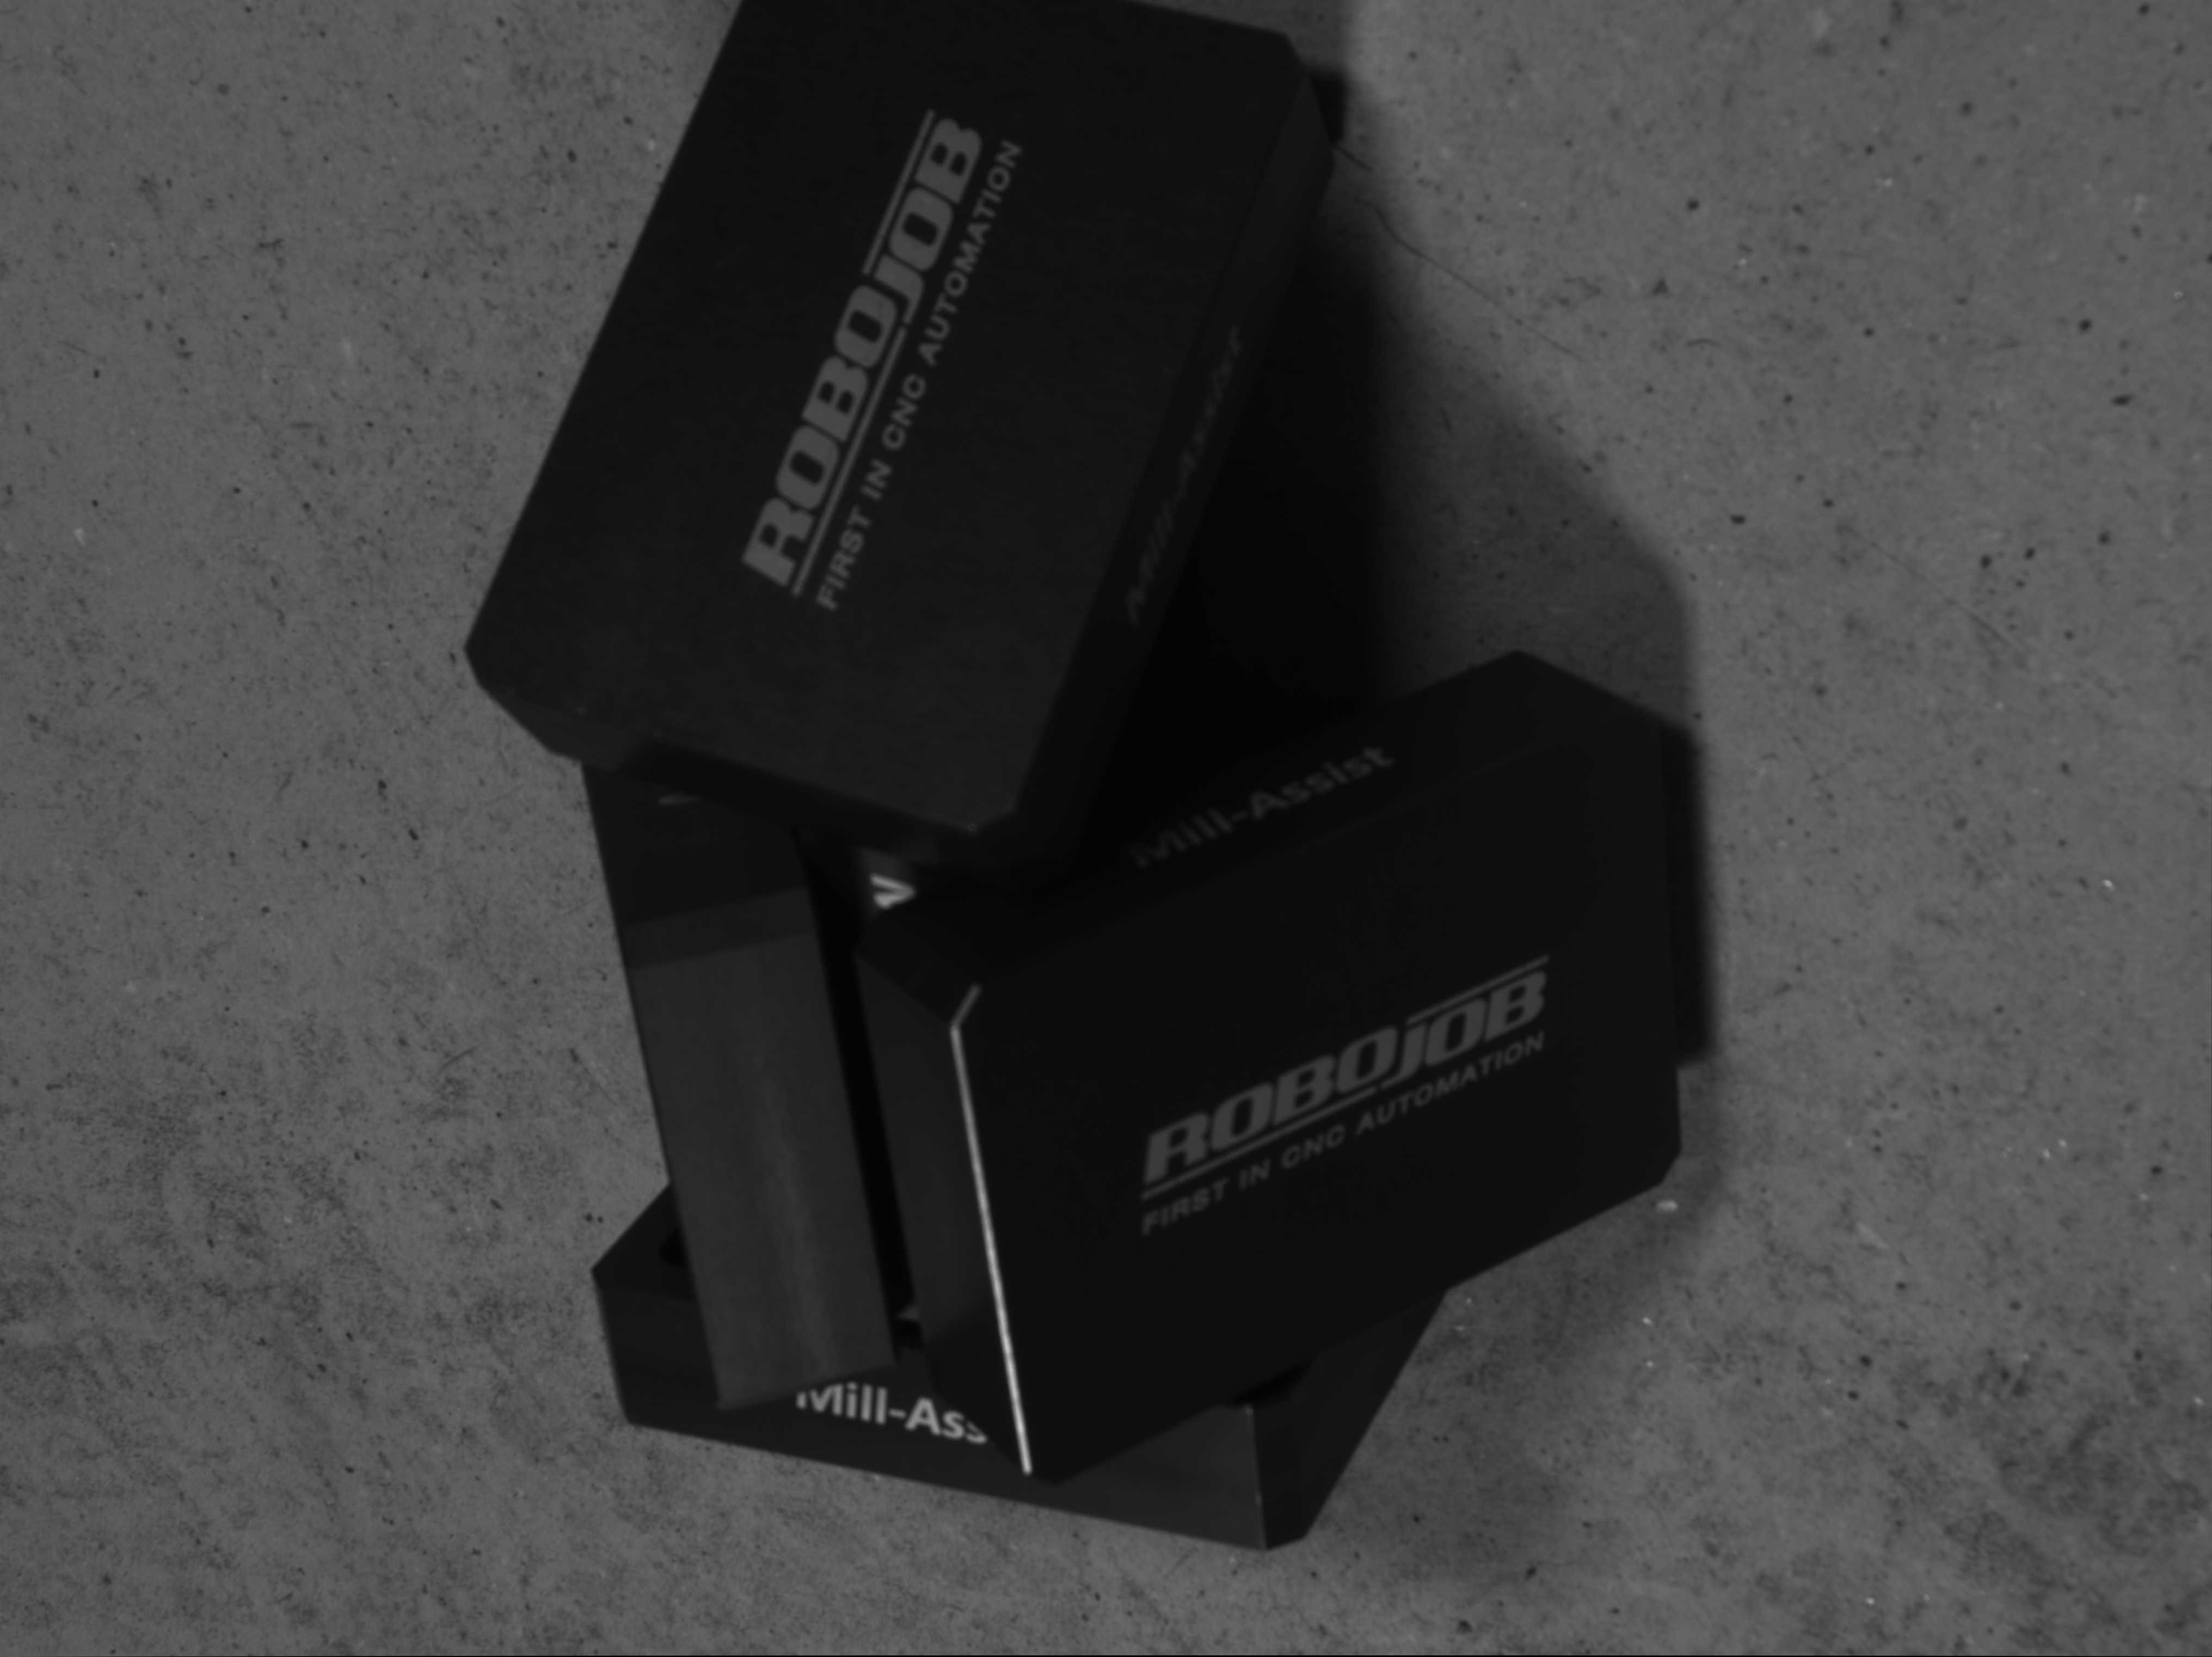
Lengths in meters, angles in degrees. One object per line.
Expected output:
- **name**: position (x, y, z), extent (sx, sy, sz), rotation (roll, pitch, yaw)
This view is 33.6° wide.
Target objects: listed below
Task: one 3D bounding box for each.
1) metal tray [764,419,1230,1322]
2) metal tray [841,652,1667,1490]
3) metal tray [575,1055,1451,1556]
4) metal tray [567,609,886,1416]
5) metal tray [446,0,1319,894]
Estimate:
- **metal tray**: position (-0.014, 0.007, 0.601), extent (0.030, 0.090, 0.130), rotation (7, 121, 23)
- **metal tray**: position (0.027, 0.036, 0.576), extent (0.030, 0.130, 0.090), rotation (32, 137, 50)
- **metal tray**: position (-0.015, 0.077, 0.643), extent (0.130, 0.090, 0.030), rotation (7, 121, 23)
- **metal tray**: position (-0.068, 0.026, 0.619), extent (0.030, 0.130, 0.090), rotation (-12, 118, -8)
- **metal tray**: position (-0.032, -0.065, 0.550), extent (0.090, 0.130, 0.030), rotation (16, 165, 17)
